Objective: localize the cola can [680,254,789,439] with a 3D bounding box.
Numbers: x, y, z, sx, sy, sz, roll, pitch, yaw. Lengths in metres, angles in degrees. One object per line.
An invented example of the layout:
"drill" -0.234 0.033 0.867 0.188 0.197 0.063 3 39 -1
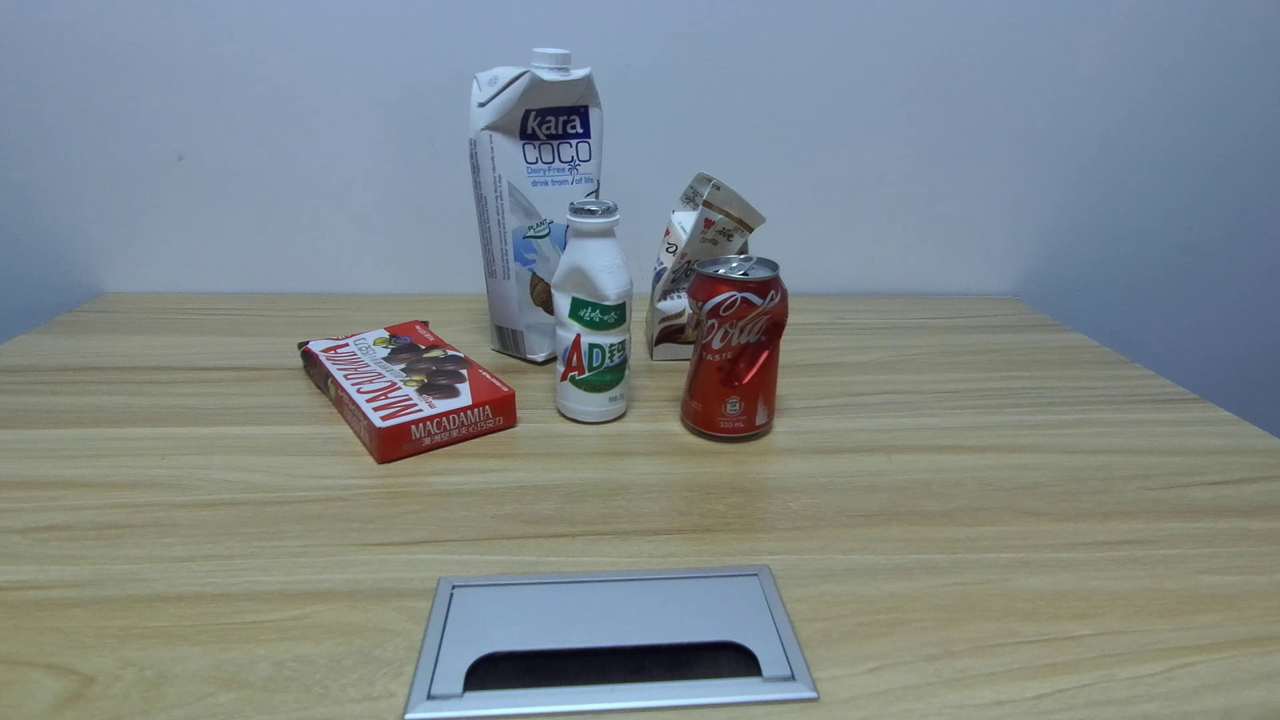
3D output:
"cola can" 0.062 -0.009 0.471 0.066 0.117 0.066 -2 22 -10

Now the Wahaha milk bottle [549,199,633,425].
"Wahaha milk bottle" -0.032 -0.032 0.477 0.056 0.147 0.056 3 23 -1

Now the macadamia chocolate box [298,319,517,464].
"macadamia chocolate box" -0.173 0.014 0.518 0.106 0.028 0.182 -15 28 -34

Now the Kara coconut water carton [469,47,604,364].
"Kara coconut water carton" -0.080 -0.122 0.571 0.069 0.238 0.115 18 25 38

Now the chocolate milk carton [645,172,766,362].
"chocolate milk carton" 0.055 -0.077 0.593 0.089 0.155 0.076 10 28 -15
